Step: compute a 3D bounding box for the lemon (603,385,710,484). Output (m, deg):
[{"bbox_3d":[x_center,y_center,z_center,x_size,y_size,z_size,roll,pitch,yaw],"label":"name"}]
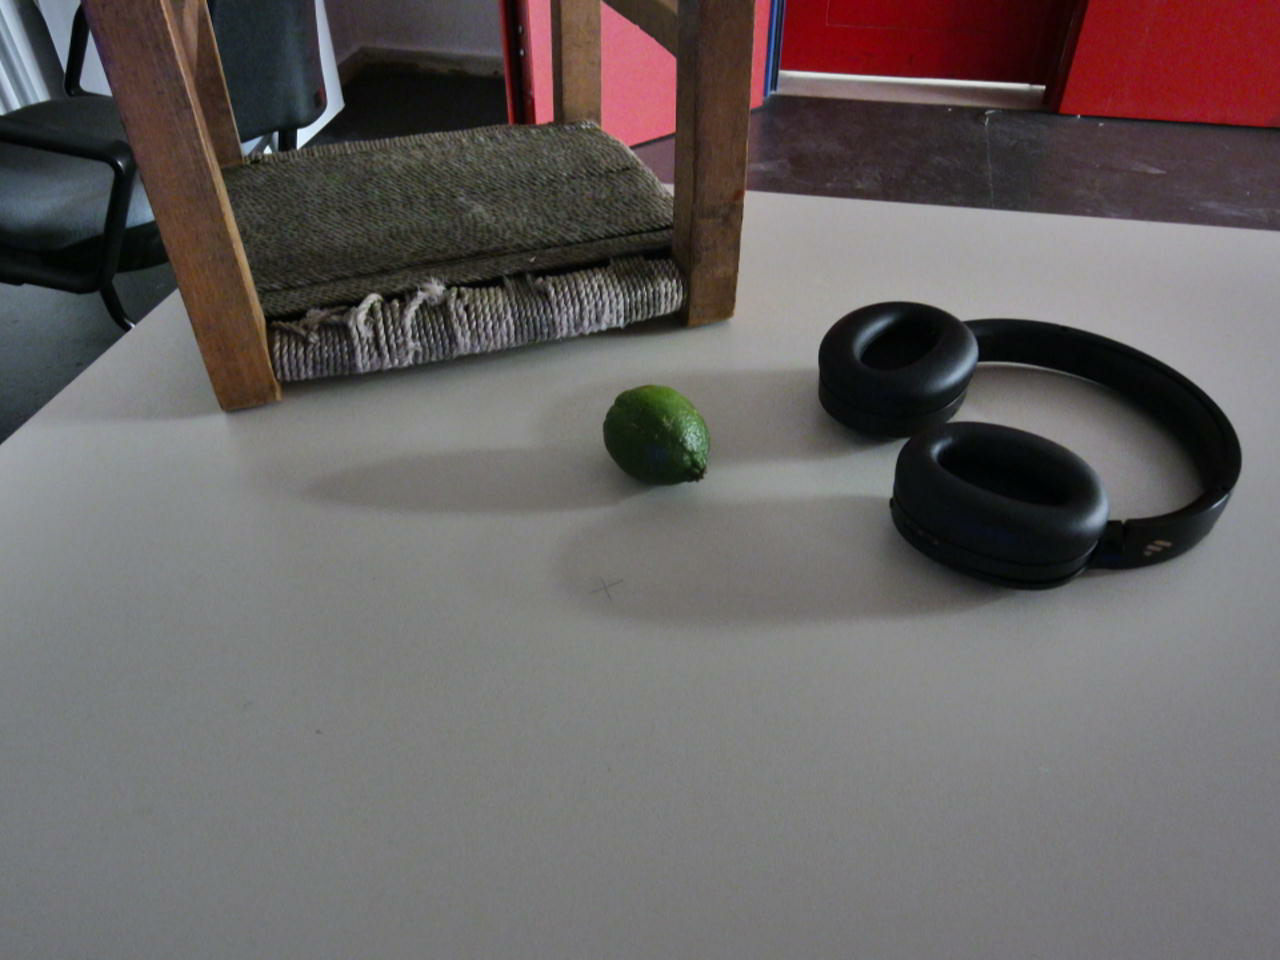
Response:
[{"bbox_3d":[0.009,-0.025,0.535,0.057,0.051,0.054,5,39,7],"label":"lemon"}]
